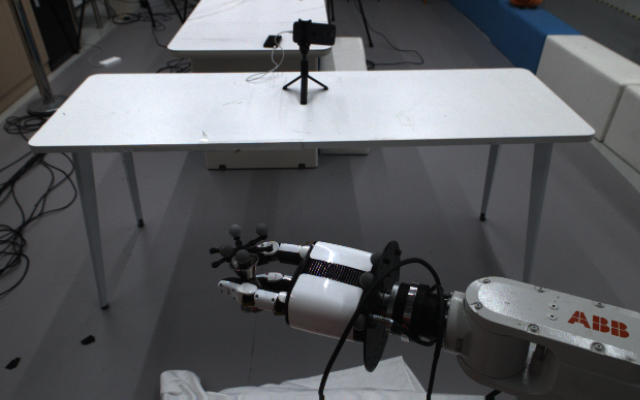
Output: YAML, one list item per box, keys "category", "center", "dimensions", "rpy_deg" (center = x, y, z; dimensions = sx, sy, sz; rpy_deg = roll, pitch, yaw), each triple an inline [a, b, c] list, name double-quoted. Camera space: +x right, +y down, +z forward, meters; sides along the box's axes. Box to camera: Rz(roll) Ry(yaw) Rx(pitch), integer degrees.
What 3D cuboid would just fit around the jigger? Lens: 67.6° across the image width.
- category: "jigger"
  center: [-0.090, 0.108, 0.649]
  dimensions: [0.043, 0.071, 0.043]
  rpy_deg: [-10, 24, 5]
